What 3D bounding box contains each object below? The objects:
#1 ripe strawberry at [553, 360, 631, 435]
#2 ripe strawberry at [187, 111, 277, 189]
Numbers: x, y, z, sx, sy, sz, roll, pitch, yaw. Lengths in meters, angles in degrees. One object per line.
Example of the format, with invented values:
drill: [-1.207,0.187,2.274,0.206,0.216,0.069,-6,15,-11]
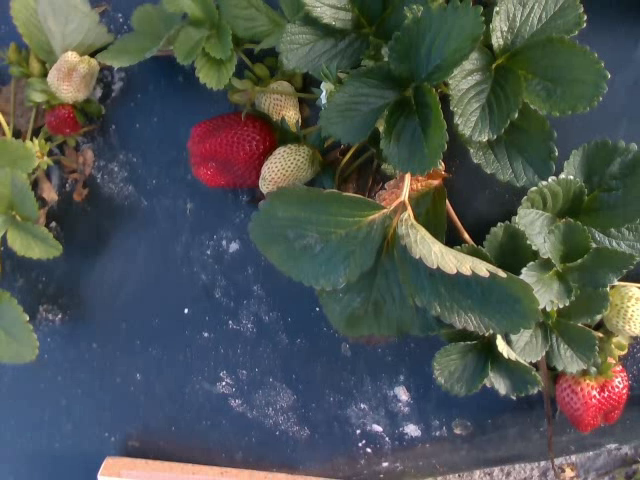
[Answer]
ripe strawberry: [0.181,0.107,0.386,0.047,0.050,0.035,-14,27,16]
ripe strawberry: [-0.064,-0.061,0.416,0.070,0.058,0.057,-3,38,-22]
